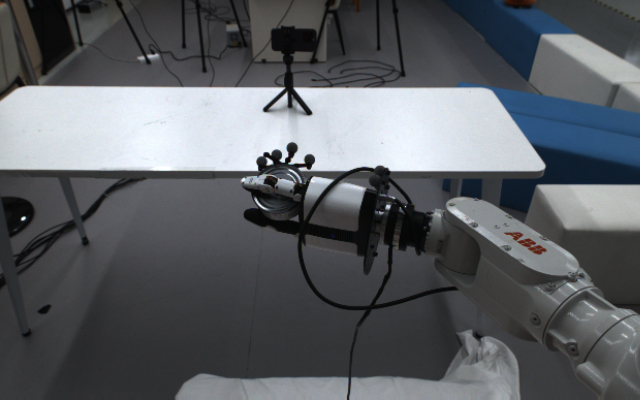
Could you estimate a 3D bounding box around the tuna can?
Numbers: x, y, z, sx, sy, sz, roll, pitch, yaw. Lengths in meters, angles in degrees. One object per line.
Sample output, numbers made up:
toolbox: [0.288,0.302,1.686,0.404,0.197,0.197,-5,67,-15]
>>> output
tuna can: [-0.061,-0.011,0.748,0.085,0.034,0.085,-6,61,10]
